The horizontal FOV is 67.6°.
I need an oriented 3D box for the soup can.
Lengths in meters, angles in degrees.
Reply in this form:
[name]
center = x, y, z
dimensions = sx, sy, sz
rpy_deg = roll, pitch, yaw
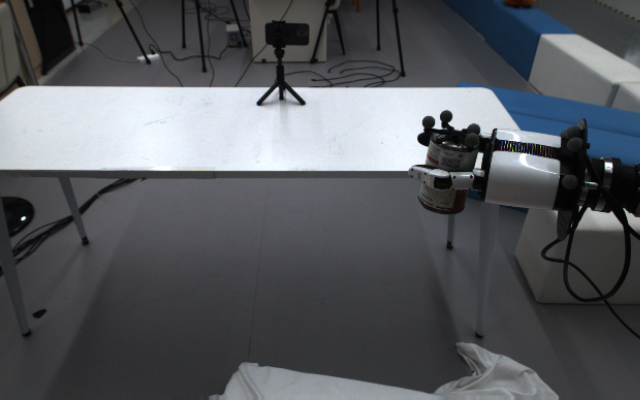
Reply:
[soup can]
center = 0.180, -0.041, 0.681
dimensions = 0.067, 0.101, 0.067
rpy_deg = 3, 30, -2
